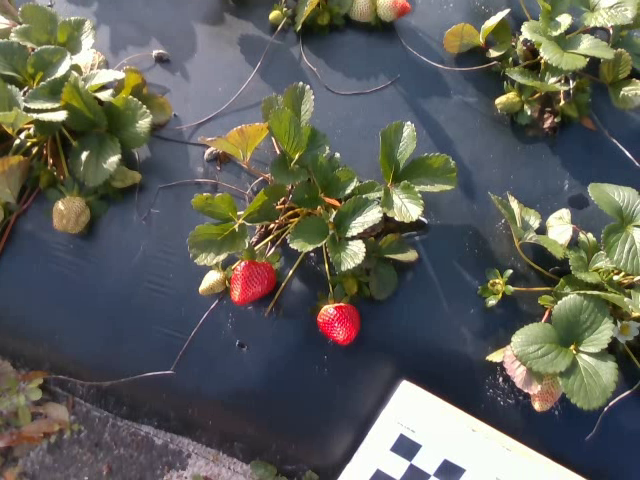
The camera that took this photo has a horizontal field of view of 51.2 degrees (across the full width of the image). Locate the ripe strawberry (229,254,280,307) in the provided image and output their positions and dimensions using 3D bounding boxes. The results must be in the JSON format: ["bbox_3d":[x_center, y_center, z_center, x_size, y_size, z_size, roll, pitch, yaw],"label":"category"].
[{"bbox_3d":[-0.049,0.032,0.459,0.035,0.041,0.036,16,46,14],"label":"ripe strawberry"}]

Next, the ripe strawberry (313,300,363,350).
[{"bbox_3d":[0.014,0.062,0.456,0.034,0.037,0.039,29,35,-16],"label":"ripe strawberry"}]
